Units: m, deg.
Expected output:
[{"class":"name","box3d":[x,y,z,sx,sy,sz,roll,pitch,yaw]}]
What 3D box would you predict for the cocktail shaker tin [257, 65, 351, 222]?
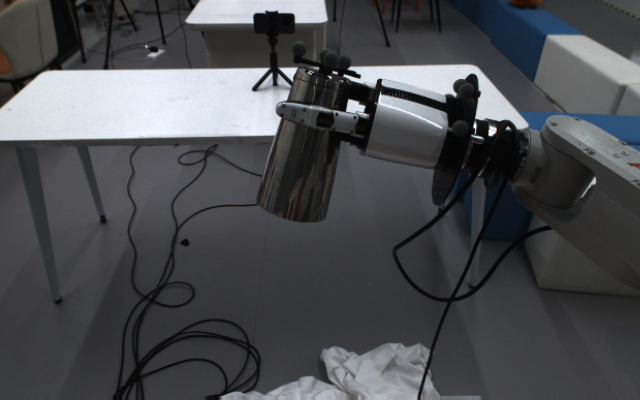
[{"class":"cocktail shaker tin","box3d":[-0.014,-0.071,0.592,0.093,0.170,0.093,14,18,-5]}]
